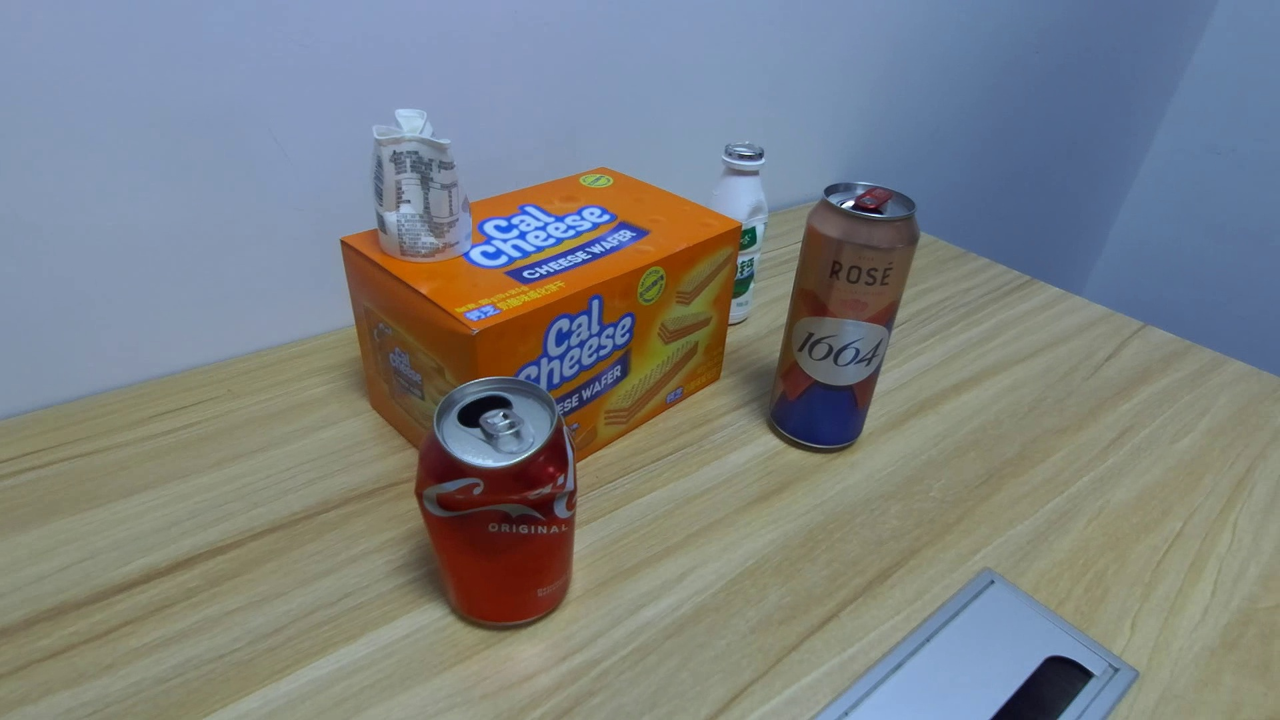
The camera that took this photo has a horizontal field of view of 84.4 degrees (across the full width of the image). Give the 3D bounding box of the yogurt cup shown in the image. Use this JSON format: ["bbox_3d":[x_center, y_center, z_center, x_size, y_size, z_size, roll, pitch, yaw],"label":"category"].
[{"bbox_3d":[-0.126,-0.099,0.402,0.055,0.072,0.055,4,34,-2],"label":"yogurt cup"}]

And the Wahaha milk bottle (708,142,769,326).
[{"bbox_3d":[0.076,-0.097,0.588,0.053,0.137,0.053,4,33,-3],"label":"Wahaha milk bottle"}]

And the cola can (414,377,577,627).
[{"bbox_3d":[-0.063,0.069,0.344,0.072,0.117,0.065,5,32,3],"label":"cola can"}]

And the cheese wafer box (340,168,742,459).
[{"bbox_3d":[-0.058,-0.029,0.484,0.147,0.129,0.223,30,42,35],"label":"cheese wafer box"}]

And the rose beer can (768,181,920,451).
[{"bbox_3d":[0.129,-0.023,0.455,0.069,0.169,0.068,4,33,-2],"label":"rose beer can"}]
